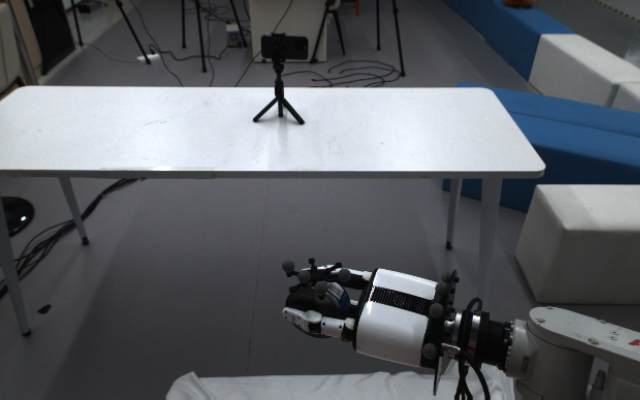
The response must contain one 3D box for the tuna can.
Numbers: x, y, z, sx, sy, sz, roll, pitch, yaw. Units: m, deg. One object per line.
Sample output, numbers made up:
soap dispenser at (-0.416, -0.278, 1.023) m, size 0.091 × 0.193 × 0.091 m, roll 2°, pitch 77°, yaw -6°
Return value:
tuna can at (0.001, 0.144, 0.665) m, size 0.085 × 0.085 × 0.034 m, roll 14°, pitch 29°, yaw 16°
